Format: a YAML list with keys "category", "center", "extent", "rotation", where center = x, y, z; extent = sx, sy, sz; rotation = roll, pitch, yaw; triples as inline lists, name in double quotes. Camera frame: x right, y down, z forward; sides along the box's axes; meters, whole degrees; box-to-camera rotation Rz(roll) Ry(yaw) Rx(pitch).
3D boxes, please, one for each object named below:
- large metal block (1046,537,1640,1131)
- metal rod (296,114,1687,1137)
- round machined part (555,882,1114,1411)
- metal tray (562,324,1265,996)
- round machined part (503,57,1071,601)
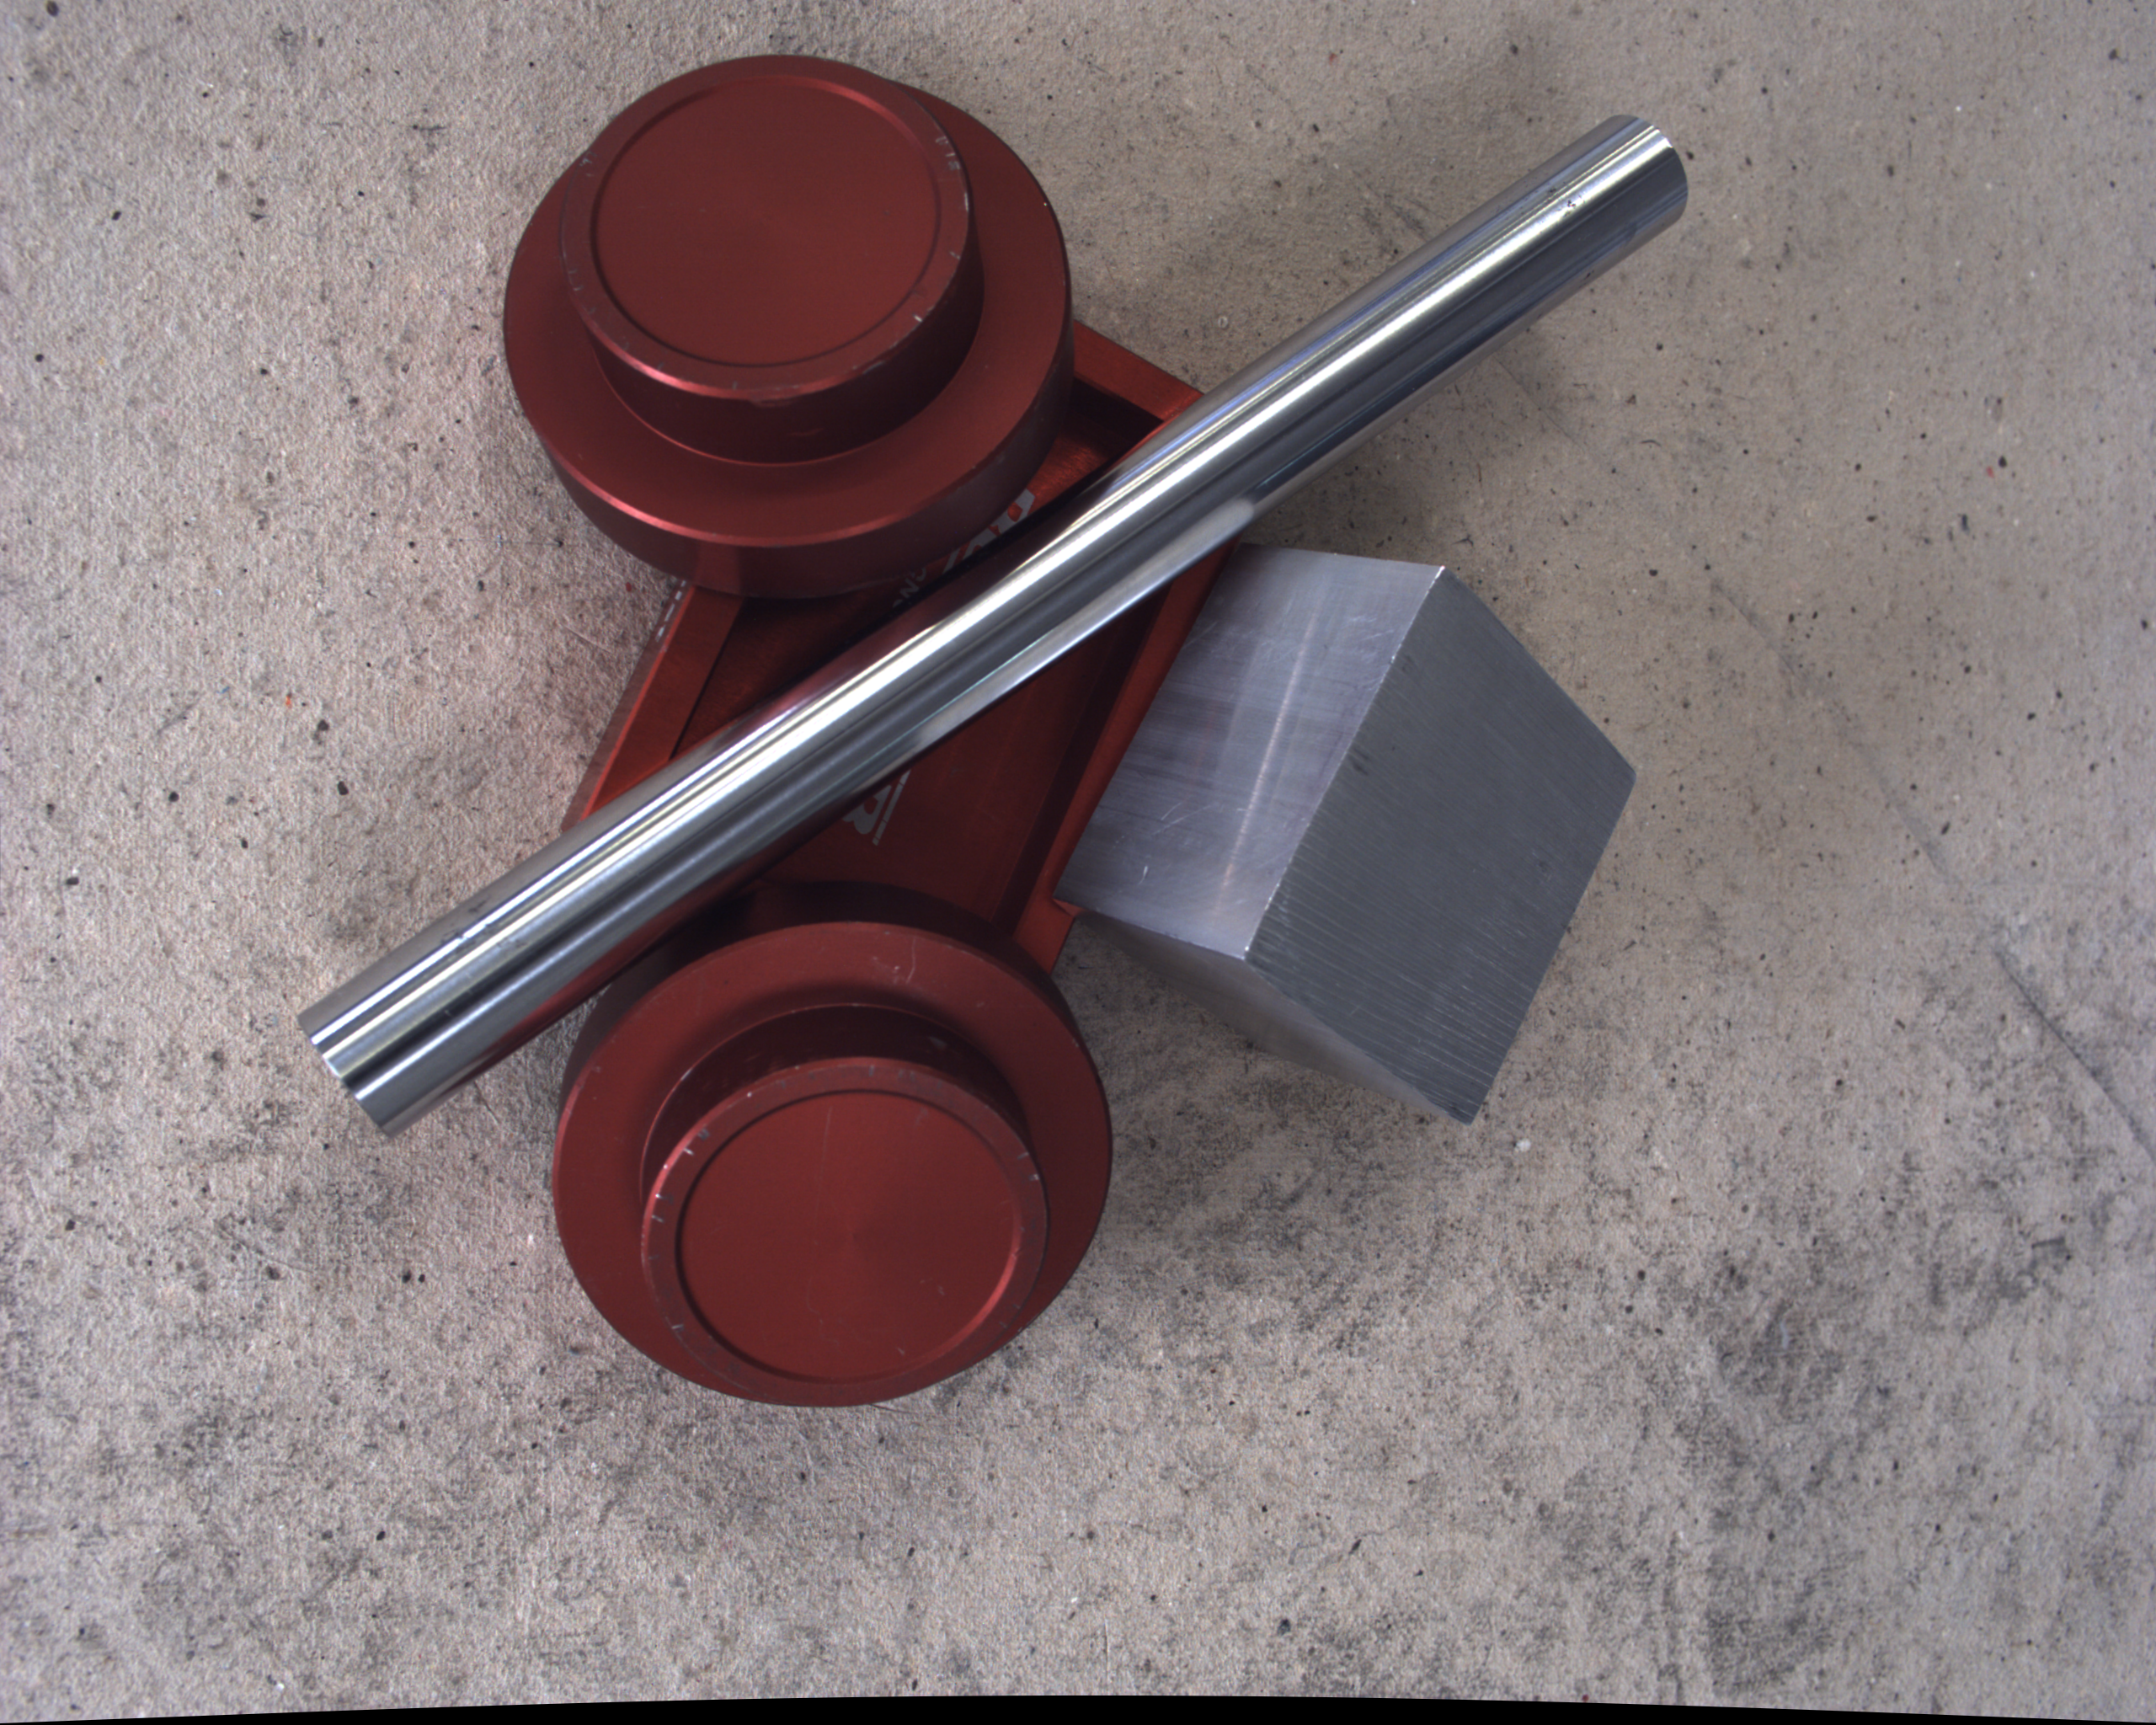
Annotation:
- category: "large metal block"
  center: [0.053, -0.005, 0.402]
  extent: [0.080, 0.050, 0.080]
  rotation: [36, 77, -41]
- category: "metal rod"
  center: [-0.002, -0.052, 0.378]
  extent: [0.301, 0.025, 0.025]
  rotation: [-37, 102, -16]
- category: "round machined part"
  center: [-0.041, 0.056, 0.368]
  extent: [0.099, 0.042, 0.097]
  rotation: [-4, 111, -11]
- category: "metal tray"
  center: [-0.029, -0.043, 0.397]
  extent: [0.090, 0.030, 0.130]
  rotation: [26, 81, -18]
- category: "round machined part"
  center: [-0.051, -0.098, 0.361]
  extent: [0.099, 0.042, 0.098]
  rotation: [0, 71, 1]
